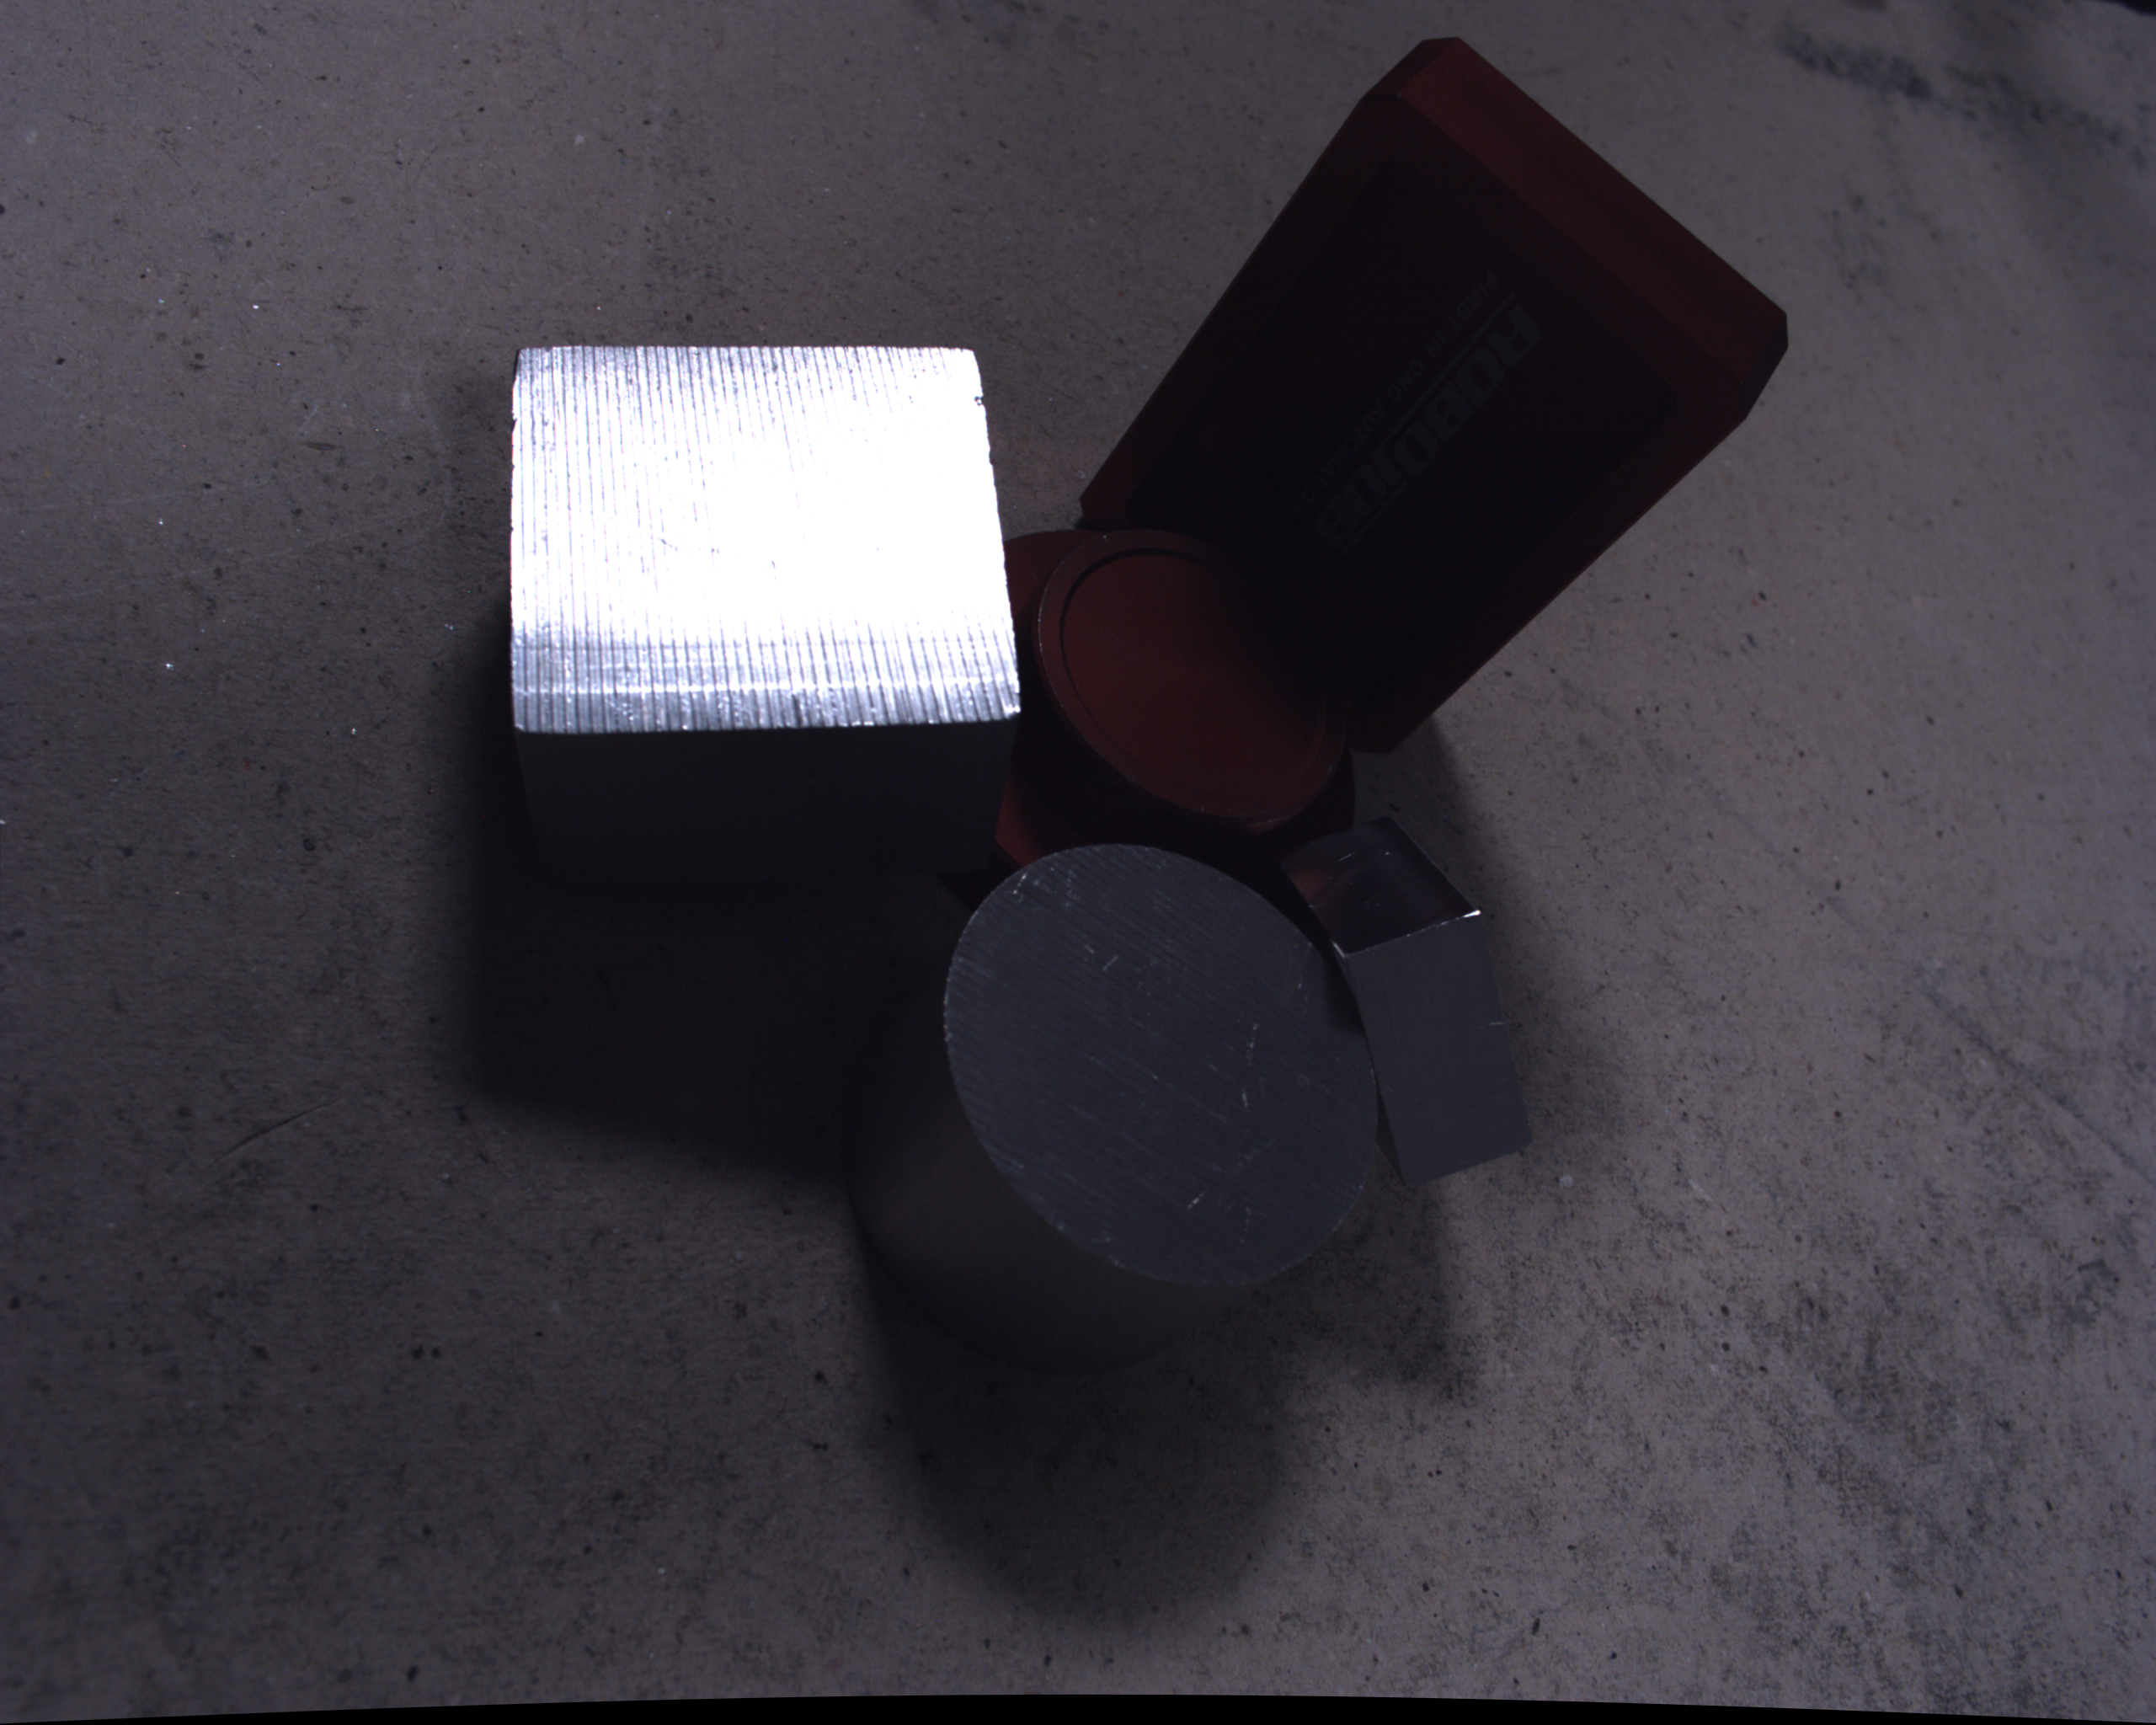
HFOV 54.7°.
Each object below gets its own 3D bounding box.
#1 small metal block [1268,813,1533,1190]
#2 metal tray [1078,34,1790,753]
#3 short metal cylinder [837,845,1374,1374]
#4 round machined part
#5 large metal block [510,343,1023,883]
[{"bbox_3d":[0.060,0.025,0.394,0.025,0.050,0.050,-19,113,-3],"label":"small metal block"},{"bbox_3d":[0.067,-0.090,0.429,0.090,0.129,0.030,39,51,-2],"label":"metal tray"},{"bbox_3d":[0.004,0.044,0.367,0.081,0.050,0.080,14,56,-21],"label":"short metal cylinder"},{"bbox_3d":[0.013,-0.028,0.421,0.099,0.042,0.098,14,56,-21],"label":"round machined part"},{"bbox_3d":[-0.057,-0.044,0.371,0.081,0.050,0.080,-2,62,-10],"label":"large metal block"}]
